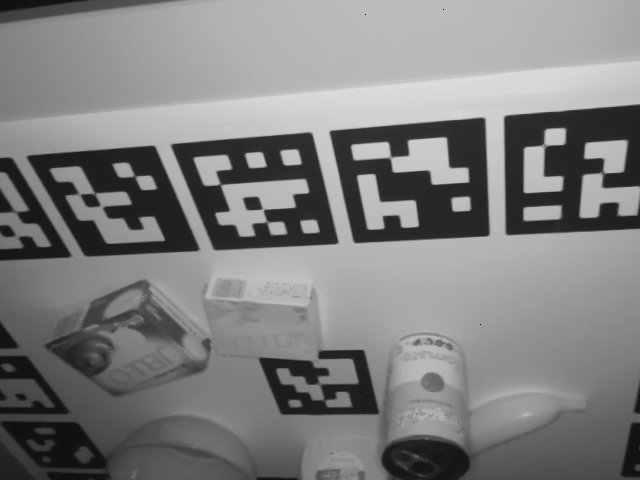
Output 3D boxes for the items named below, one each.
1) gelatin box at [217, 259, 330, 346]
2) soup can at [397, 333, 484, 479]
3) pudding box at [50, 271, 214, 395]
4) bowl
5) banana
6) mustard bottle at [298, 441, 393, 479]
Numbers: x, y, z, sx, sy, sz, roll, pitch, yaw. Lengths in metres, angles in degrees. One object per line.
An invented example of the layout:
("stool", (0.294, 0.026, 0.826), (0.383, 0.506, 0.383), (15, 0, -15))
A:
("gelatin box", (-0.037, 0.054, 0.584), (0.089, 0.030, 0.072), (2, 127, 5))
("soup can", (0.101, 0.137, 0.579), (0.068, 0.103, 0.067), (5, 133, 6))
("pudding box", (-0.166, 0.085, 0.621), (0.112, 0.039, 0.090), (-23, 118, 25))
("bowl", (-0.142, 0.231, 0.737), (0.161, 0.056, 0.160), (2, 131, 3))
("banana", (0.166, 0.193, 0.673), (0.075, 0.039, 0.194), (23, 130, -25))
("mustard bottle", (0.018, 0.289, 0.657), (0.096, 0.193, 0.058), (-2, 133, 11))
